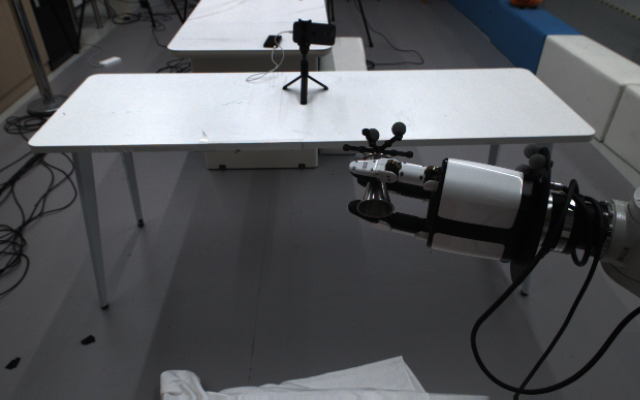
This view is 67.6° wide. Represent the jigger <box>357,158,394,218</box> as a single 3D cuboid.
[{"bbox_3d":[0.066,-0.019,0.591,0.043,0.043,0.071,5,60,4],"label":"jigger"}]
